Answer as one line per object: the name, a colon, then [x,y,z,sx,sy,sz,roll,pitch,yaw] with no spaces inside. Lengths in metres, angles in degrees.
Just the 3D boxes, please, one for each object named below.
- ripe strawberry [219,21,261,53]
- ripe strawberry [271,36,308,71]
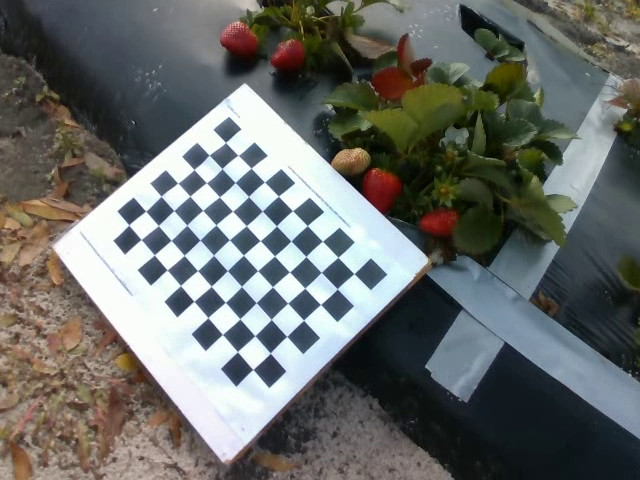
ripe strawberry: [-0.105,-0.255,0.744,0.050,0.045,0.061,32,39,19]
ripe strawberry: [-0.041,-0.237,0.738,0.042,0.034,0.053,27,41,18]
